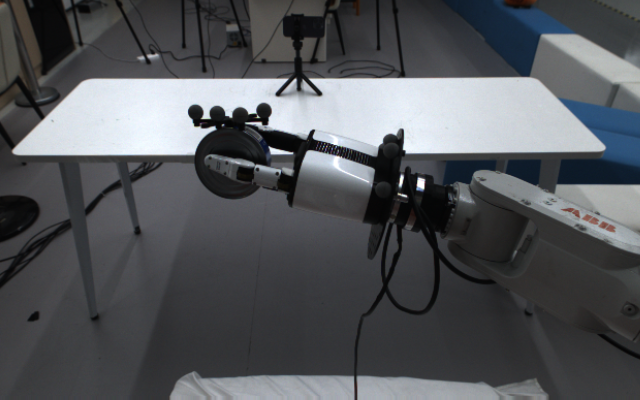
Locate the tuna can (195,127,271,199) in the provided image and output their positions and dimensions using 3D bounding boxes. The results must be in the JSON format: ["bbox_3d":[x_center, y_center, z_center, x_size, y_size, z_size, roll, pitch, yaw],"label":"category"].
[{"bbox_3d":[-0.098,-0.046,0.575,0.085,0.085,0.034,4,18,3],"label":"tuna can"}]
